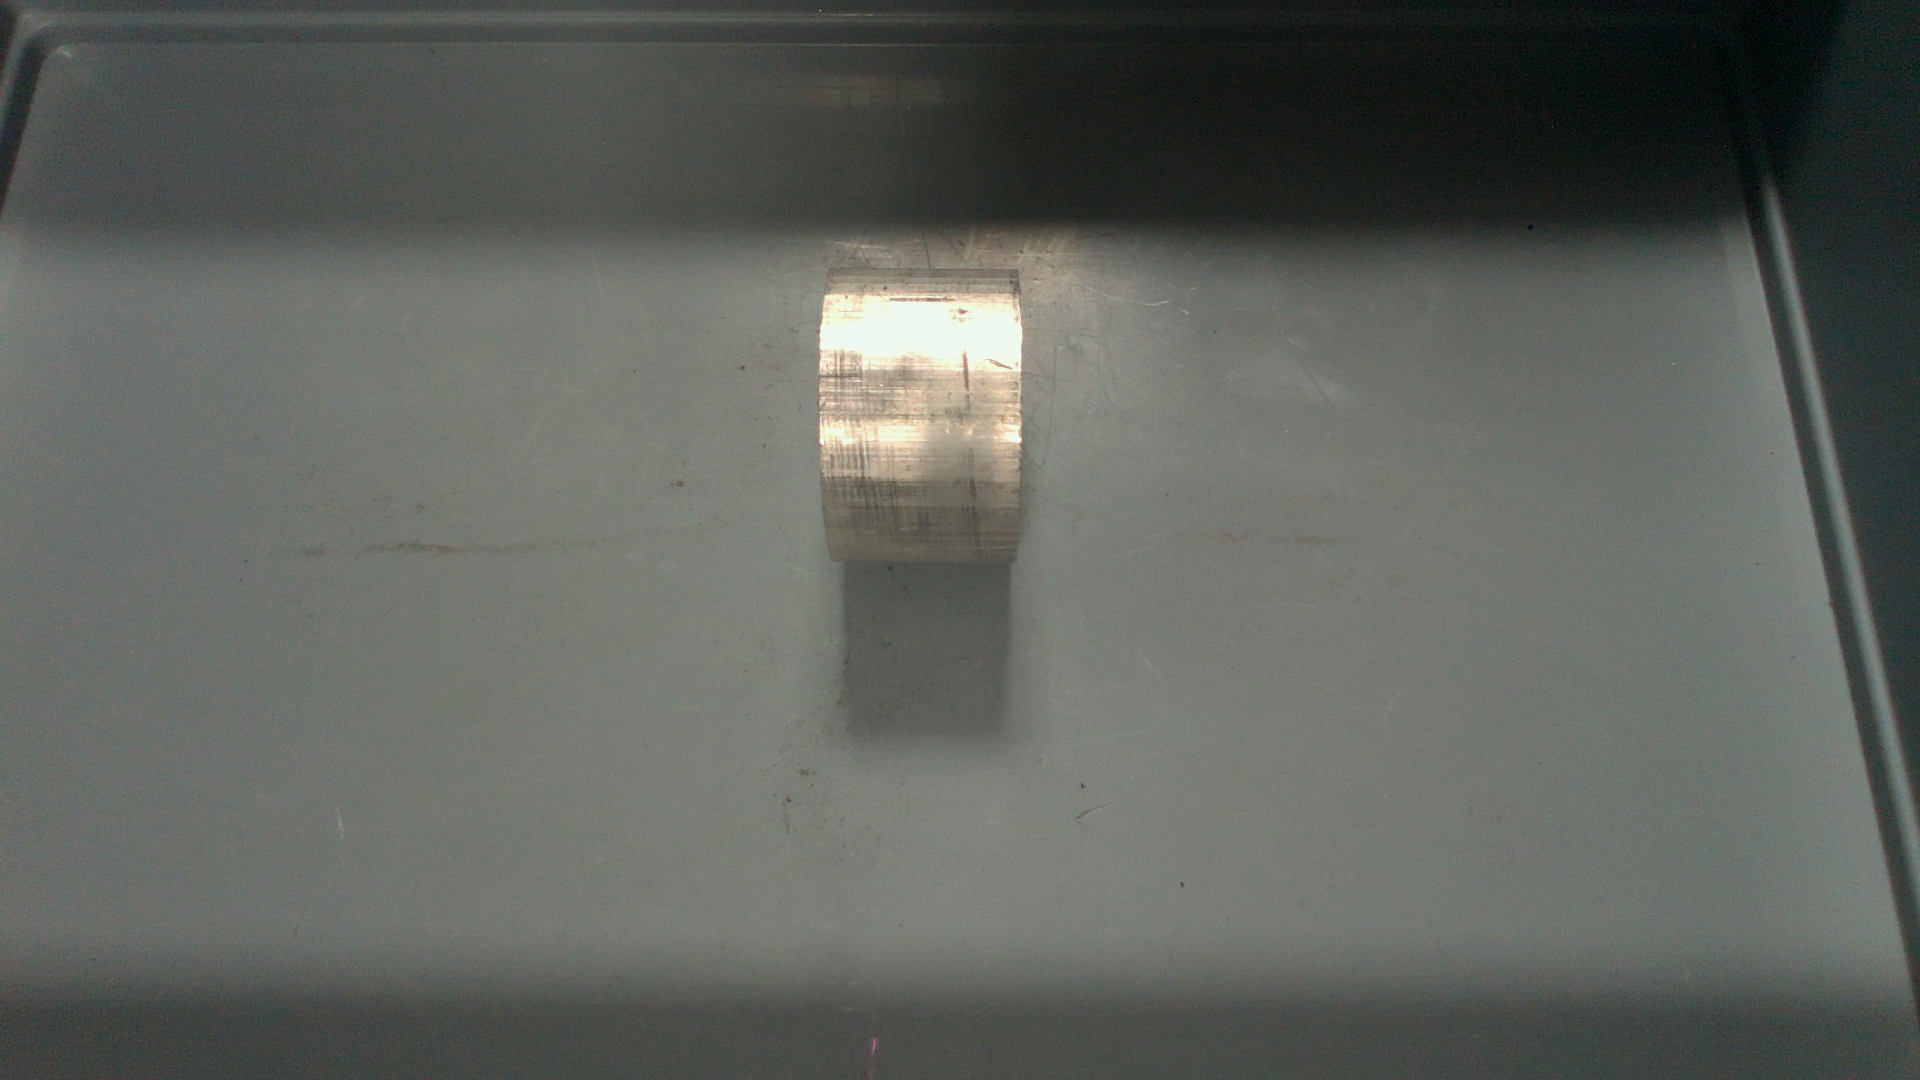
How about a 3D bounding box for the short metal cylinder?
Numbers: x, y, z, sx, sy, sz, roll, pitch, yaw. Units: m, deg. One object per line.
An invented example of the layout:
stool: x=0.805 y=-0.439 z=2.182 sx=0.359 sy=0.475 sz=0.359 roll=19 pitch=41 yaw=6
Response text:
short metal cylinder: x=-0.010 y=-0.034 z=0.376 sx=0.050 sy=0.080 sz=0.080 roll=0 pitch=70 yaw=0
